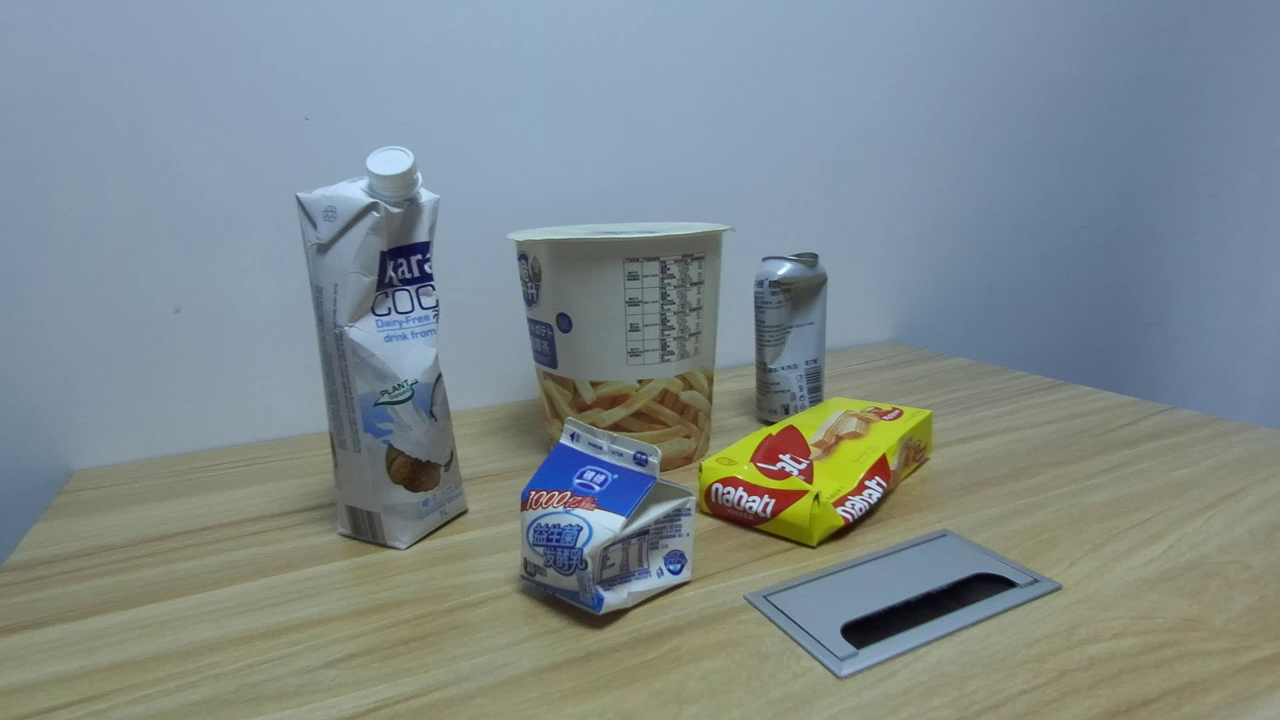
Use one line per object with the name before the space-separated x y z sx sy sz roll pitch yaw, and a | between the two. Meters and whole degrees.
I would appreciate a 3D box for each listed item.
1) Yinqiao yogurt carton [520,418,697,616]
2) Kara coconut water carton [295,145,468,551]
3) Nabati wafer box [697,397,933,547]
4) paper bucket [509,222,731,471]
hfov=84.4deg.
Yinqiao yogurt carton | -0.019 0.086 0.402 0.074 0.097 0.081 9 11 38
Kara coconut water carton | -0.171 -0.007 0.472 0.078 0.255 0.083 11 18 37
Nabati wafer box | 0.143 0.077 0.538 0.106 0.042 0.205 9 18 43
paper bucket | -0.014 -0.016 0.622 0.198 0.194 0.198 -2 14 1
